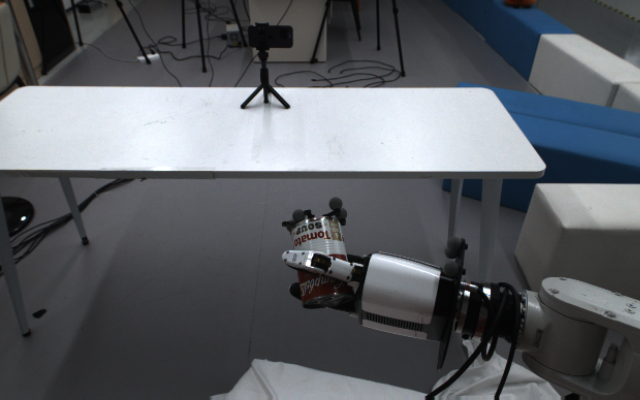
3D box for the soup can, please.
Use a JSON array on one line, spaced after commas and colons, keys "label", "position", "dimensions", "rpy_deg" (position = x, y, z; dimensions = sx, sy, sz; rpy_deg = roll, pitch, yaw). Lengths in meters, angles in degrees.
[{"label": "soup can", "position": [0.005, 0.080, 0.616], "dimensions": [0.067, 0.067, 0.101], "rpy_deg": [-6, 67, -12]}]
